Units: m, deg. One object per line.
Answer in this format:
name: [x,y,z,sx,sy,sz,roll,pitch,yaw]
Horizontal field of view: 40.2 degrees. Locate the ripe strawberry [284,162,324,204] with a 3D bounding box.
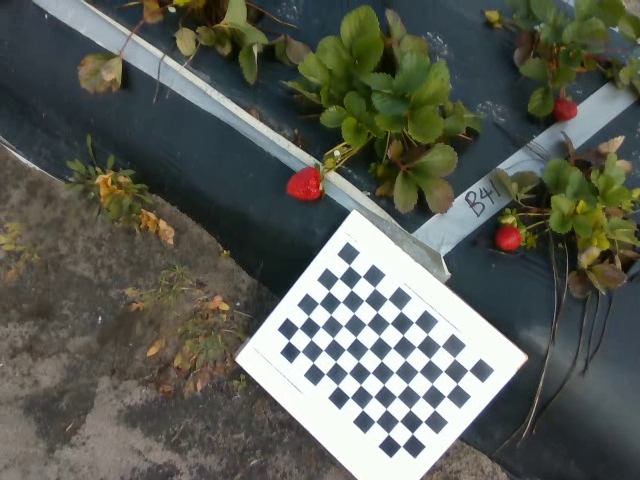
ripe strawberry: [-0.021,-0.066,1.056,0.052,0.048,0.030,-12,1,-7]

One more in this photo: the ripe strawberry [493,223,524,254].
ripe strawberry: [0.234,0.002,1.027,0.047,0.038,0.031,-29,-10,-37]
